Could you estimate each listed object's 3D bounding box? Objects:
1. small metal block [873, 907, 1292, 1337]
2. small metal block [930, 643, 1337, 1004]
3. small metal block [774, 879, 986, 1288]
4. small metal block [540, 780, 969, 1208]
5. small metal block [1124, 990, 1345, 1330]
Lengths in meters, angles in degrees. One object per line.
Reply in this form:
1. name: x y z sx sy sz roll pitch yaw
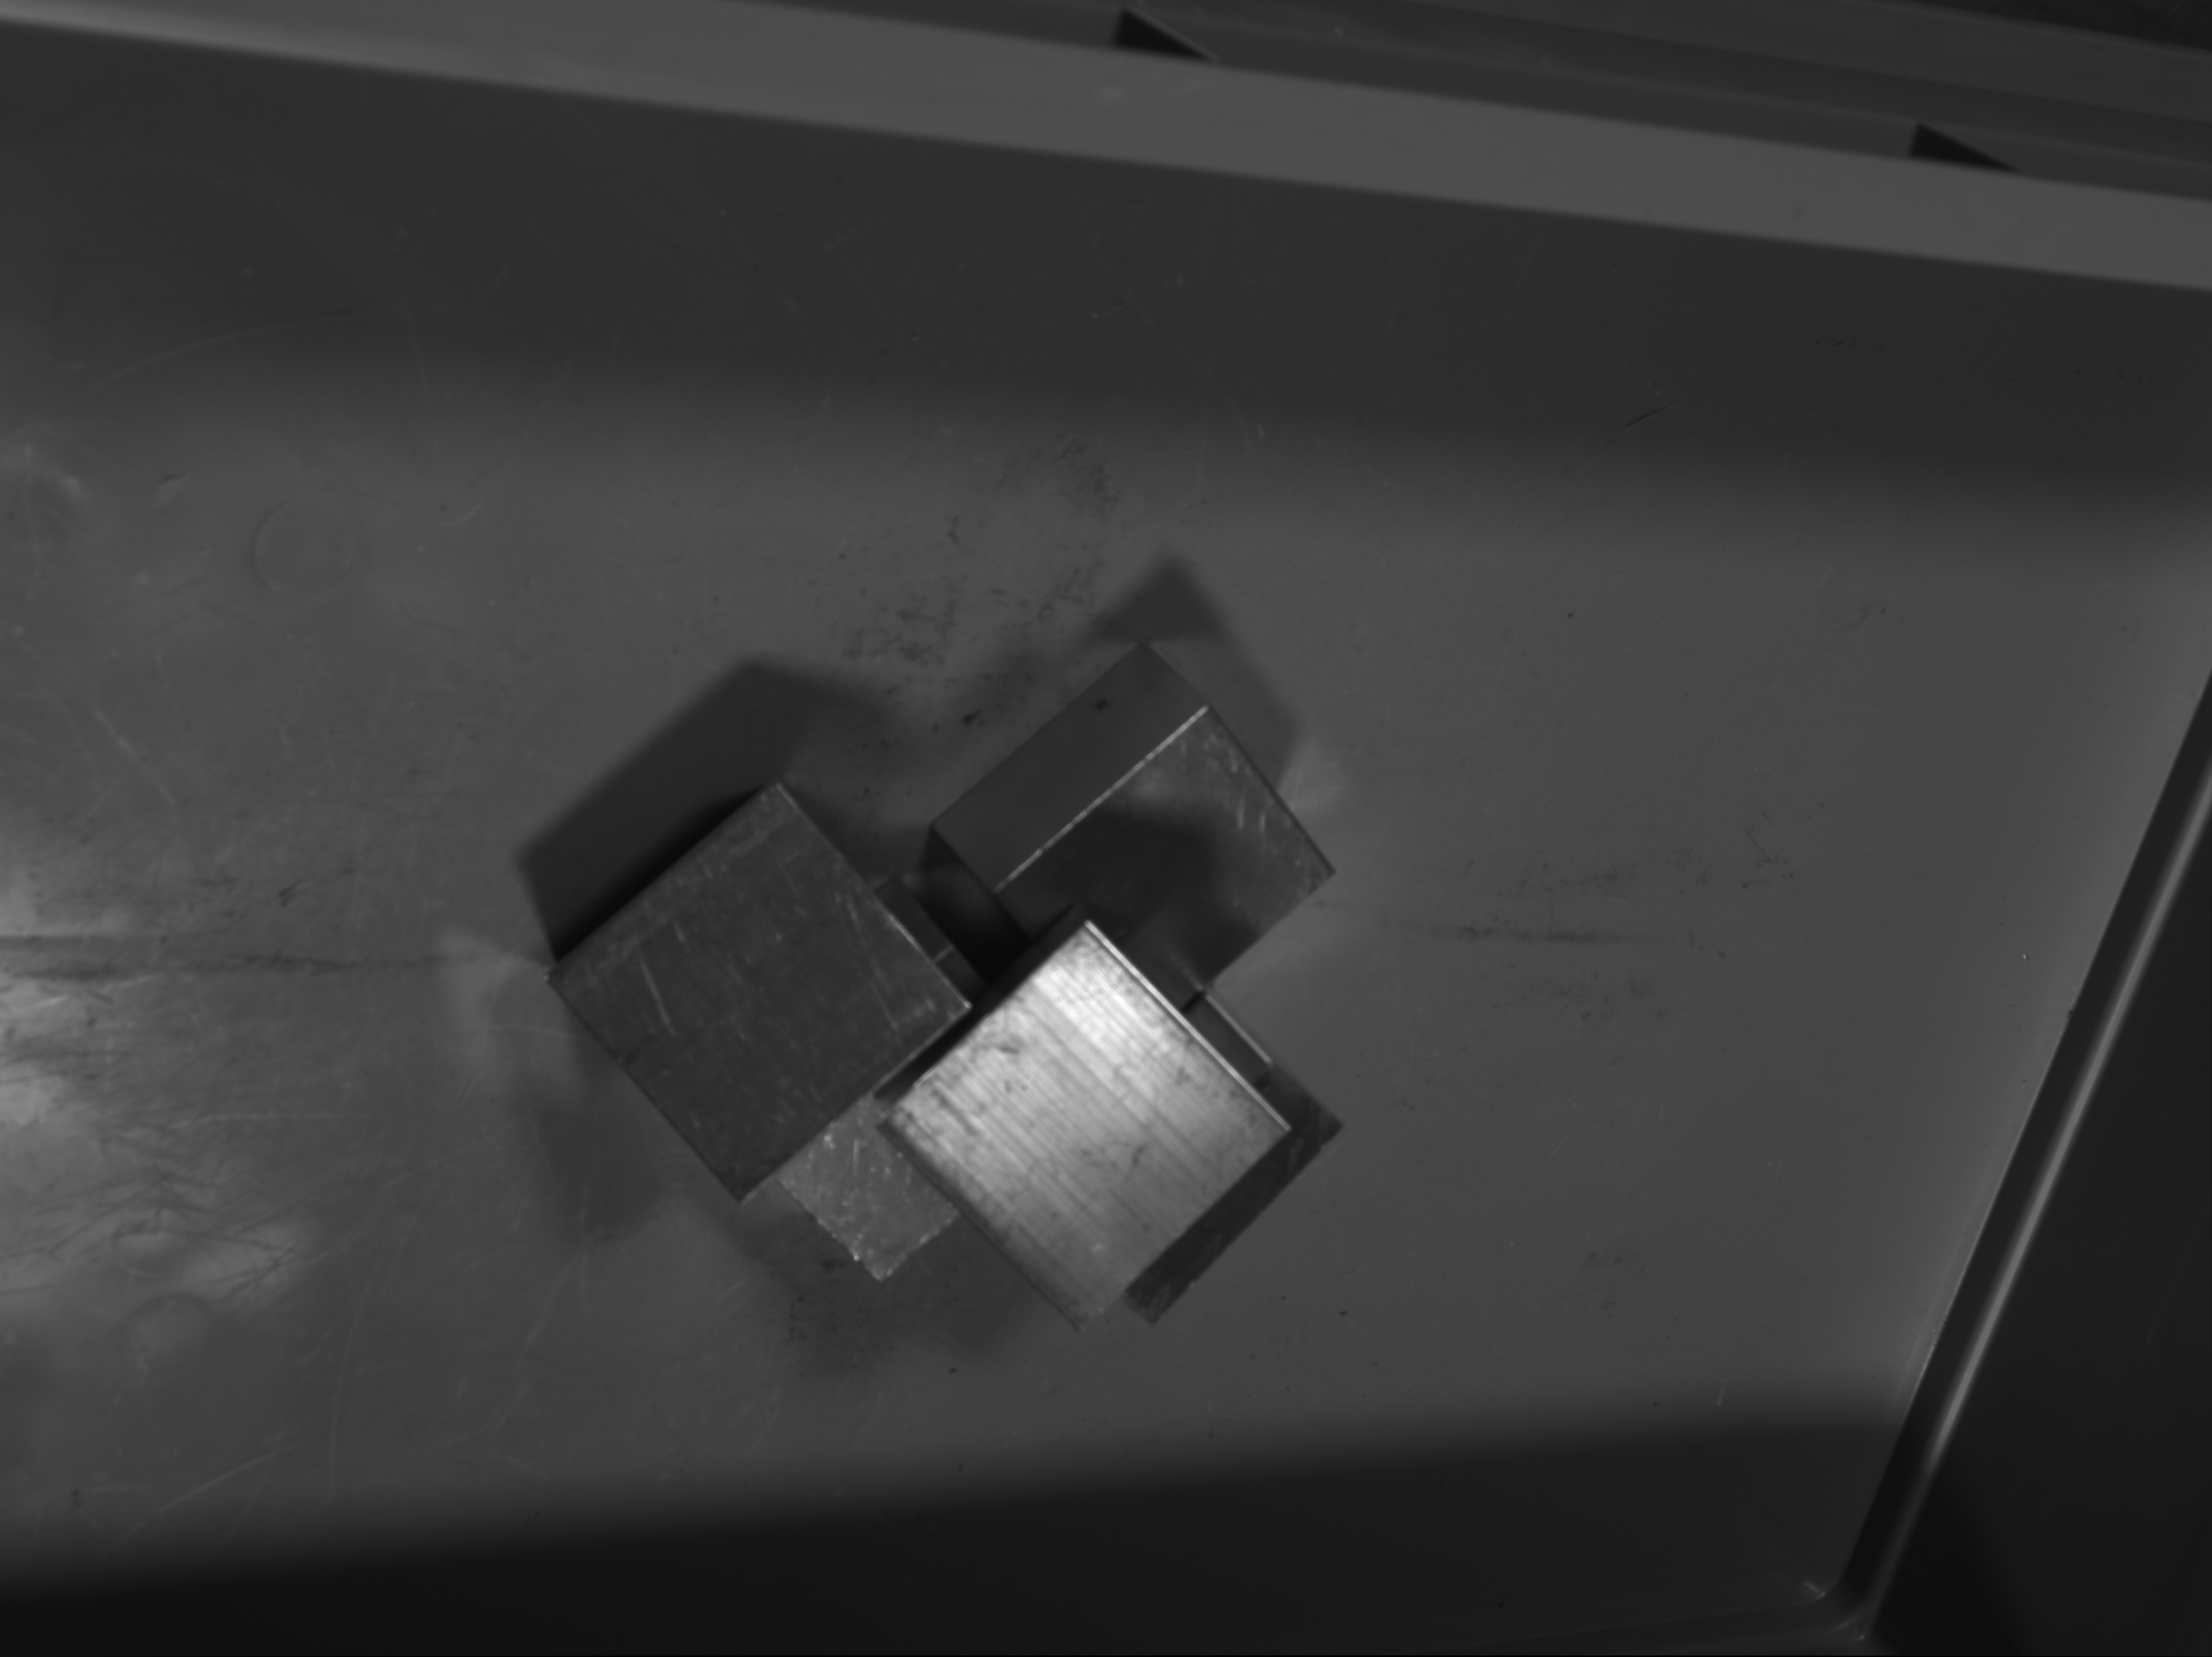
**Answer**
1. small metal block: -0.005 0.050 0.629 0.050 0.025 0.050 -44 97 1
2. small metal block: 0.005 0.004 0.655 0.050 0.025 0.050 -41 130 -2
3. small metal block: -0.039 0.046 0.655 0.050 0.025 0.050 -41 130 -2
4. small metal block: -0.058 0.027 0.616 0.050 0.025 0.050 -41 92 -2
5. small metal block: 0.007 0.054 0.671 0.050 0.050 0.025 -46 130 2
